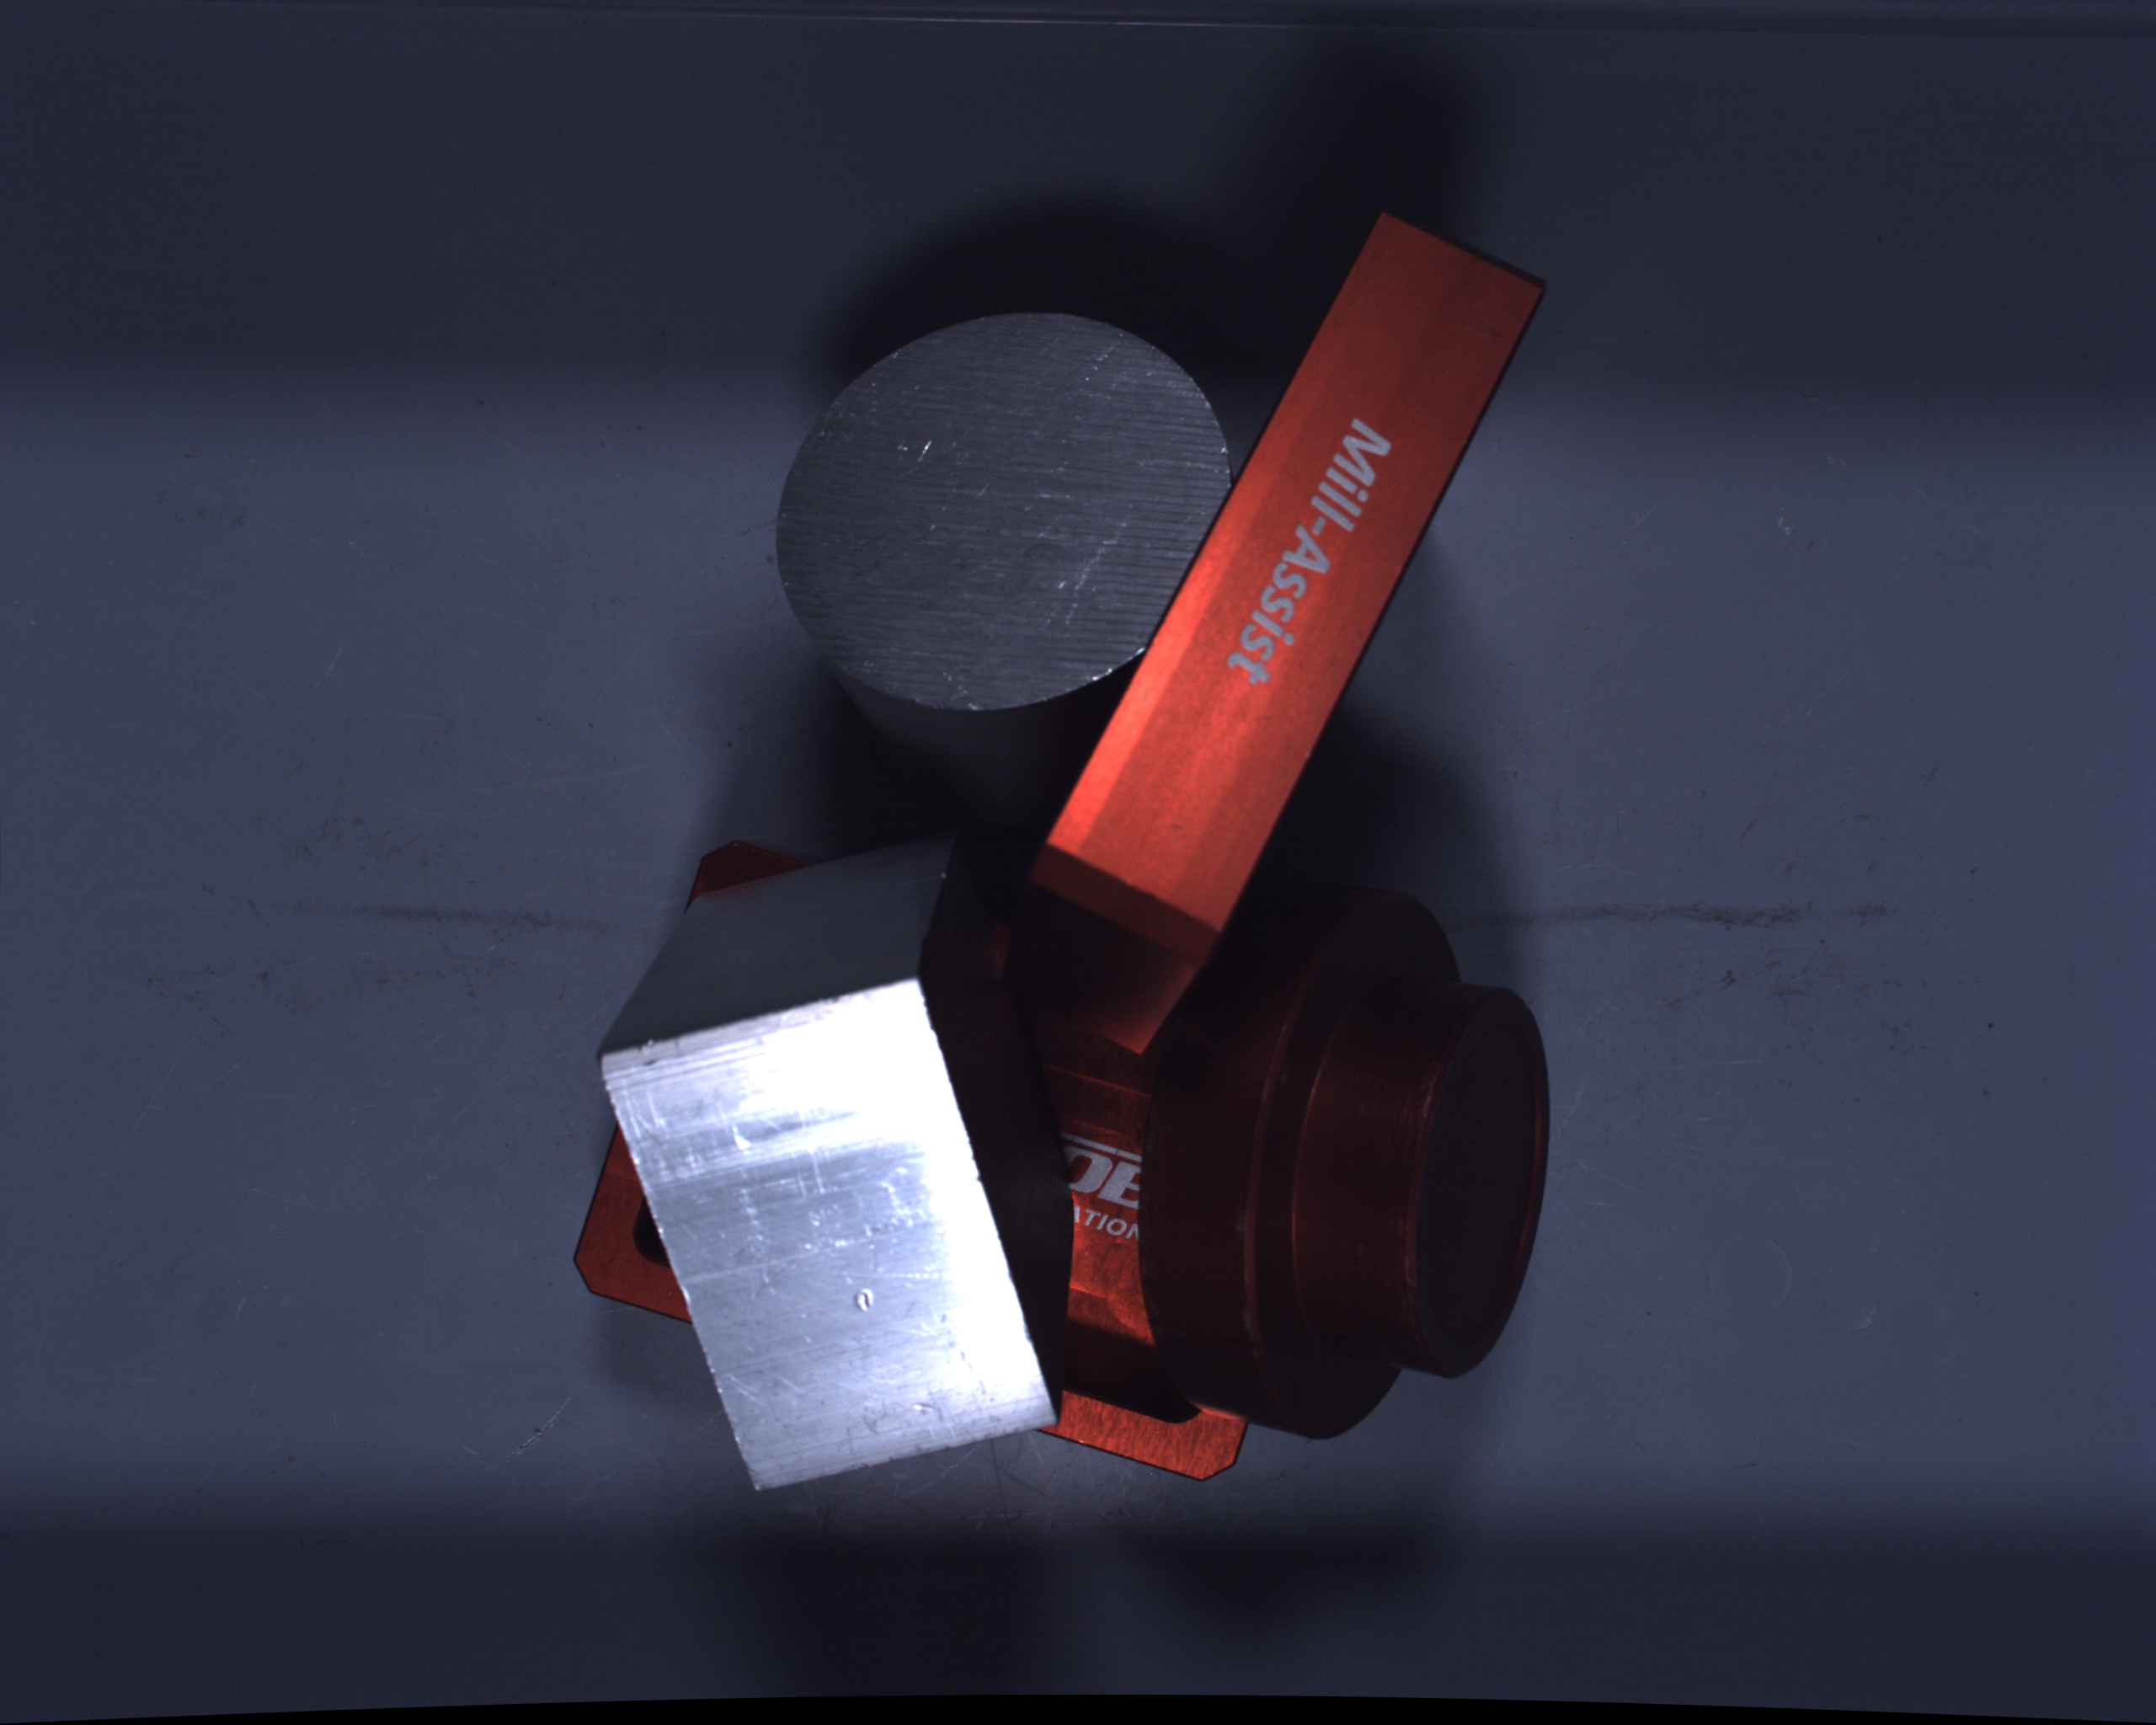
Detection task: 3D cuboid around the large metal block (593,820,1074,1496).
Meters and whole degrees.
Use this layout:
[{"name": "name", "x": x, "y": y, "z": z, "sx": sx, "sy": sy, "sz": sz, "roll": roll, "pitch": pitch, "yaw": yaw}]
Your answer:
[{"name": "large metal block", "x": -0.037, "y": 0.047, "z": 0.359, "sx": 0.050, "sy": 0.080, "sz": 0.080, "roll": -15, "pitch": 106, "yaw": 6}]

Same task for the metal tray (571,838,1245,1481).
[{"name": "metal tray", "x": -0.021, "y": 0.056, "z": 0.406, "sx": 0.131, "sy": 0.030, "sz": 0.090, "roll": 17, "pitch": 90, "yaw": 0}]

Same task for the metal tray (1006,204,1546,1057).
[{"name": "metal tray", "x": 0.032, "y": -0.036, "z": 0.362, "sx": 0.030, "sy": 0.090, "sz": 0.130, "roll": 27, "pitch": 74, "yaw": 3}]

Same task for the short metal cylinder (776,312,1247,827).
[{"name": "short metal cylinder", "x": -0.009, "y": -0.053, "z": 0.382, "sx": 0.080, "sy": 0.050, "sz": 0.080, "roll": -4, "pitch": 67, "yaw": 10}]

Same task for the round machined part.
[{"name": "round machined part", "x": 0.053, "y": 0.054, "z": 0.371, "sx": 0.042, "sy": 0.098, "sz": 0.097, "roll": 6, "pitch": 90, "yaw": 30}]
